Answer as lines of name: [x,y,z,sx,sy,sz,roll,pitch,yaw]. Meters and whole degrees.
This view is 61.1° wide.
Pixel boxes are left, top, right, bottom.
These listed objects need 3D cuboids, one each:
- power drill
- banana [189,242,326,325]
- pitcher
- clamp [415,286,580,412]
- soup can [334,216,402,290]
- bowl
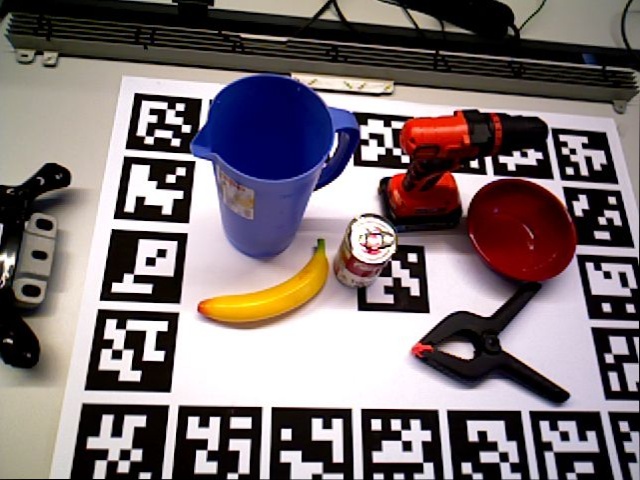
power drill: [0.181,-0.098,0.689,0.183,0.190,0.057,-2,67,-10]
banana: [-0.067,0.067,0.693,0.194,0.039,0.074,-22,64,-18]
pitcher: [-0.051,-0.078,0.639,0.186,0.247,0.132,-21,68,-17]
clamp: [0.222,0.138,0.695,0.201,0.037,0.164,0,72,-8]
soup can: [0.058,0.012,0.696,0.067,0.104,0.067,4,58,-7]
bowl: [0.277,-0.006,0.758,0.160,0.056,0.160,2,69,-7]
